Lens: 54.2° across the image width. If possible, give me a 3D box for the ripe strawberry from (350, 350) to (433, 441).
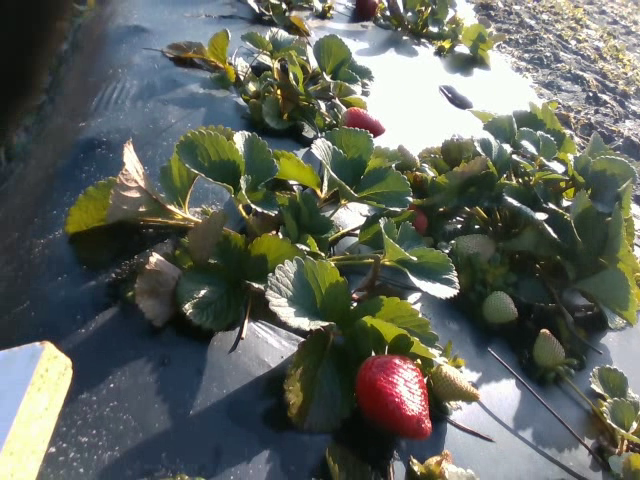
[{"bbox_3d":[0.047,0.094,0.368,0.056,0.055,0.072,-32,29,-3],"label":"ripe strawberry"}]
